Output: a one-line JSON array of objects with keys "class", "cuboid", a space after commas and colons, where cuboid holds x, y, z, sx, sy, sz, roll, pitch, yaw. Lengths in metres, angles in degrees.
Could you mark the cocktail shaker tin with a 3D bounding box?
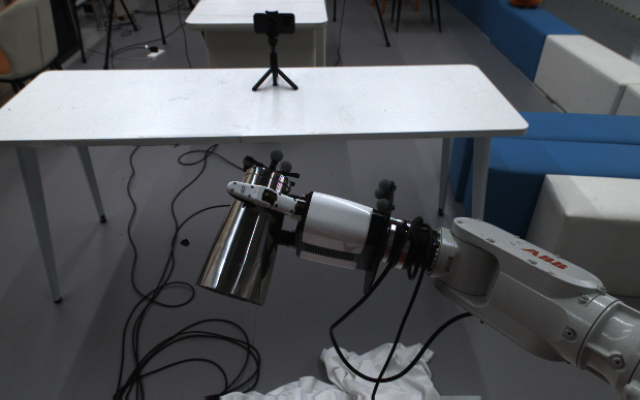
[{"class": "cocktail shaker tin", "cuboid": [-0.093, 0.045, 0.651, 0.093, 0.093, 0.170, 12, 72, 14]}]
